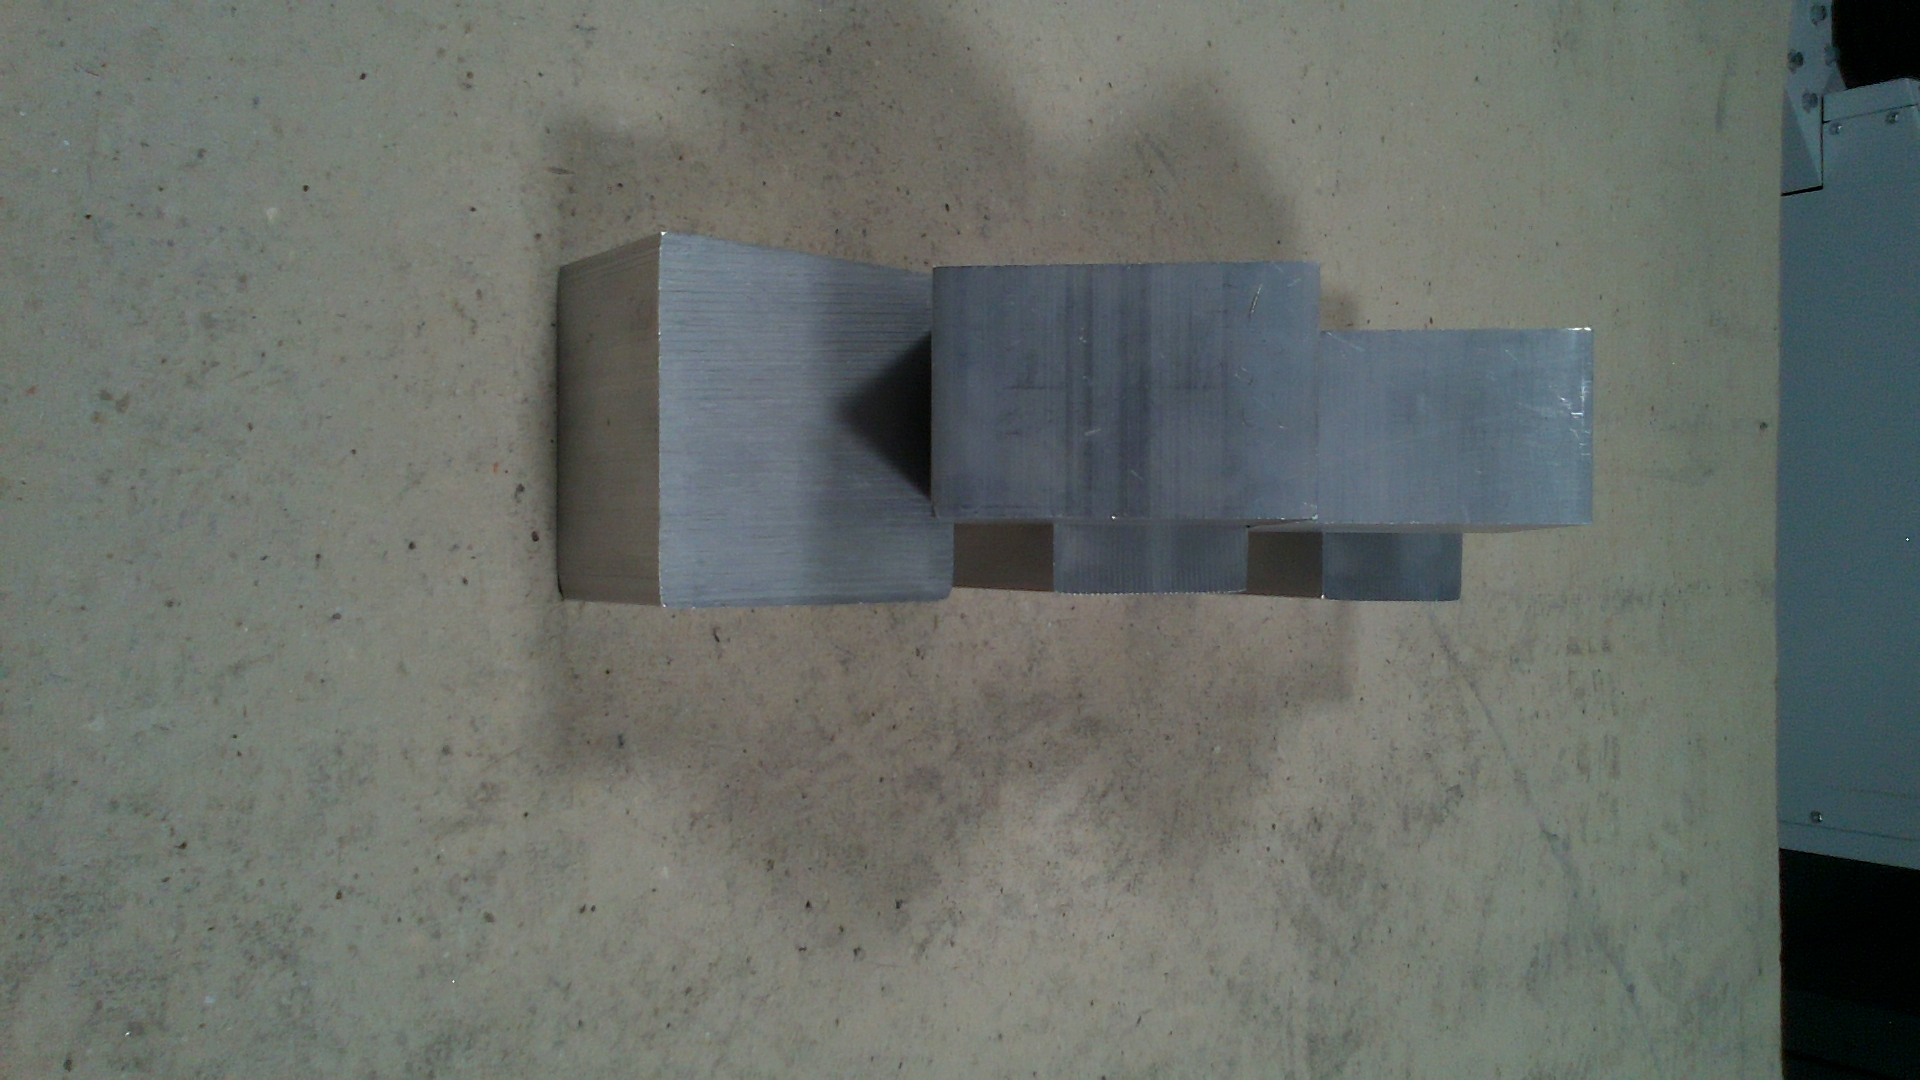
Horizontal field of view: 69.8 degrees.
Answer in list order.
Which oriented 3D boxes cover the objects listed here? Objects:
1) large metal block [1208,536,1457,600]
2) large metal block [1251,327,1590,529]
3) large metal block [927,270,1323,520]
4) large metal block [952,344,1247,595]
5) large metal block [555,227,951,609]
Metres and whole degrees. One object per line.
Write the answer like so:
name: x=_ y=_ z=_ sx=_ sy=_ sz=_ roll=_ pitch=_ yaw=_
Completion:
large metal block: x=0.130 y=-0.020 z=0.481 sx=0.080 sy=0.050 sz=0.080 roll=2 pitch=89 yaw=-40
large metal block: x=0.125 y=-0.029 z=0.396 sx=0.080 sy=0.080 sz=0.050 roll=1 pitch=89 yaw=5
large metal block: x=0.037 y=-0.030 z=0.319 sx=0.080 sy=0.080 sz=0.050 roll=-7 pitch=97 yaw=-85
large metal block: x=0.040 y=-0.025 z=0.406 sx=0.080 sy=0.050 sz=0.080 roll=1 pitch=89 yaw=-40
large metal block: x=-0.049 y=-0.025 z=0.332 sx=0.080 sy=0.050 sz=0.080 roll=0 pitch=90 yaw=-40
